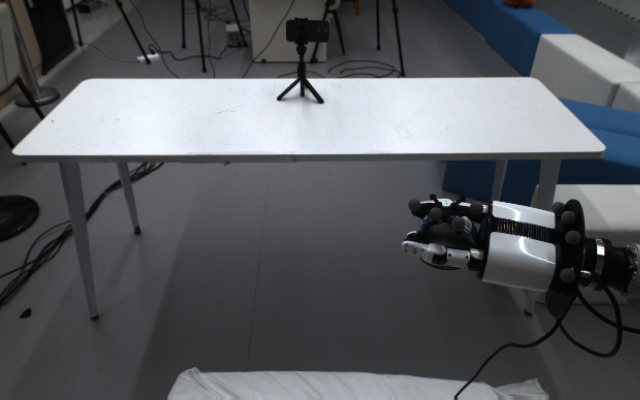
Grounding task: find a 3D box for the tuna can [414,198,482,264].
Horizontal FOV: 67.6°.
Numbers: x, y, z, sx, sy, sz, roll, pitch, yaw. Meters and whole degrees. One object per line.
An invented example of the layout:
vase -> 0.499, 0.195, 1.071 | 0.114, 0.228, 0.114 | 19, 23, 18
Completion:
tuna can -> 0.178, 0.054, 0.678 | 0.085, 0.085, 0.034 | 12, 39, 14
